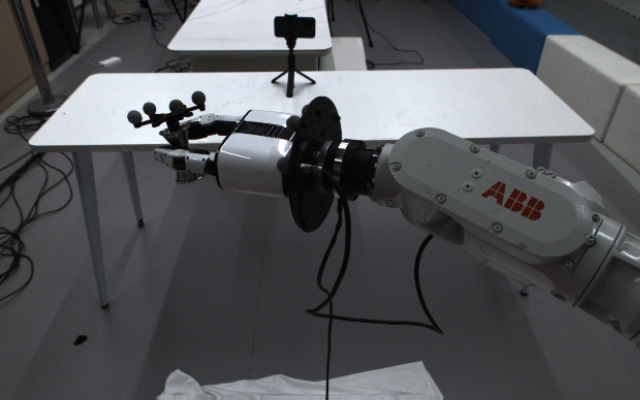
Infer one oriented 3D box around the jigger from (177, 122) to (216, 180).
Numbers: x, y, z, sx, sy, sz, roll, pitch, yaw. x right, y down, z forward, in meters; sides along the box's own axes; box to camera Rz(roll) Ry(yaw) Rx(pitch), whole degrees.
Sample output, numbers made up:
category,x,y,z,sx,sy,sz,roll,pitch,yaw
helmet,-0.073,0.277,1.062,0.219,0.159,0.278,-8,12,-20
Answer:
category,x,y,z,sx,sy,sz,roll,pitch,yaw
jigger,-0.175,-0.060,0.629,0.043,0.071,0.043,-12,25,5
